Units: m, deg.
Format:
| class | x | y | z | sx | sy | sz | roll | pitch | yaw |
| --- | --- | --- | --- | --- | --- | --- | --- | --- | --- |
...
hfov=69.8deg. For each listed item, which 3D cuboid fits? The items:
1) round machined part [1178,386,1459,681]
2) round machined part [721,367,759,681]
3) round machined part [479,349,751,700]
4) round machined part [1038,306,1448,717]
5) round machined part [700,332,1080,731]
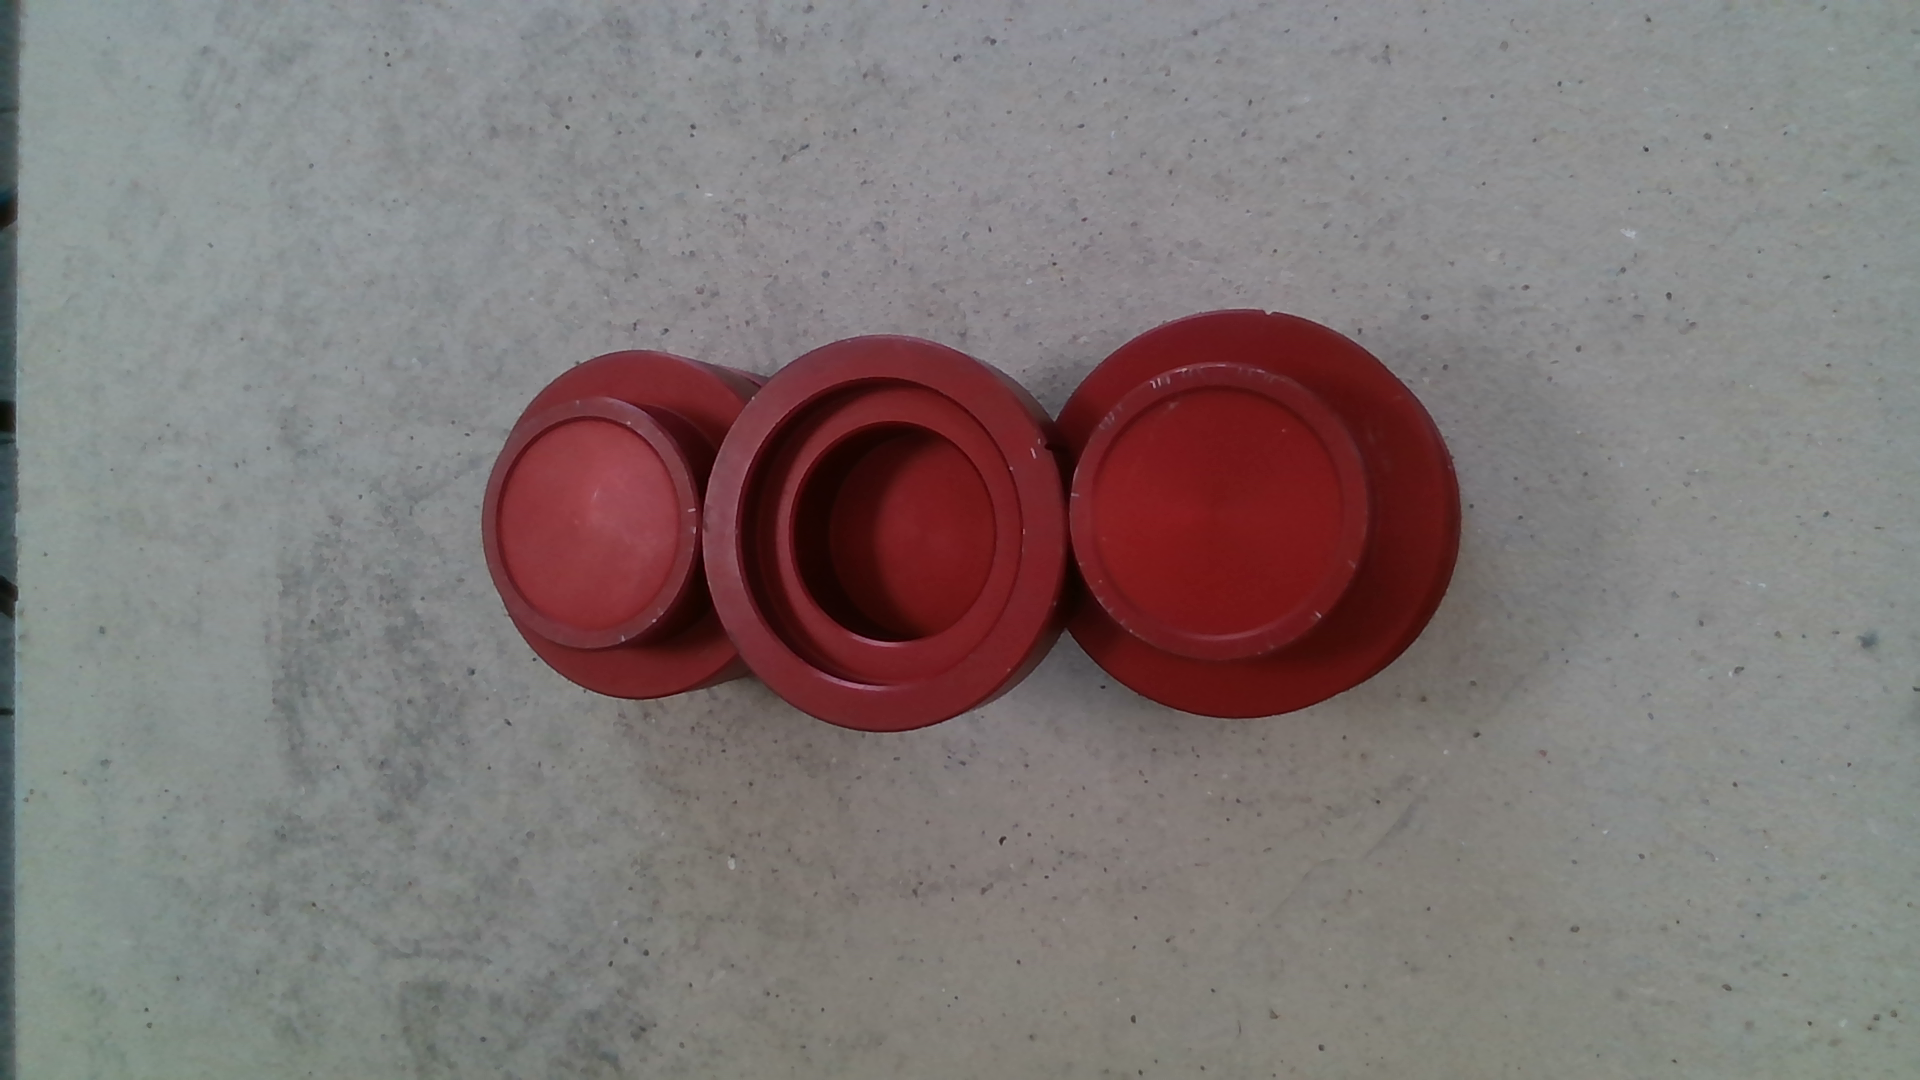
| class | x | y | z | sx | sy | sz | roll | pitch | yaw |
| --- | --- | --- | --- | --- | --- | --- | --- | --- | --- |
| round machined part | 0.077 | -0.006 | 0.356 | 0.098 | 0.042 | 0.098 | -1 | 88 | 21 |
| round machined part | -0.083 | -0.005 | 0.417 | 0.098 | 0.042 | 0.098 | 0 | 89 | 19 |
| round machined part | -0.093 | -0.004 | 0.383 | 0.098 | 0.042 | 0.098 | 0 | 89 | 21 |
| round machined part | 0.064 | -0.007 | 0.327 | 0.098 | 0.042 | 0.098 | 0 | 89 | 21 |
| round machined part | -0.014 | -0.002 | 0.356 | 0.098 | 0.042 | 0.098 | 0 | 90 | 20 |
